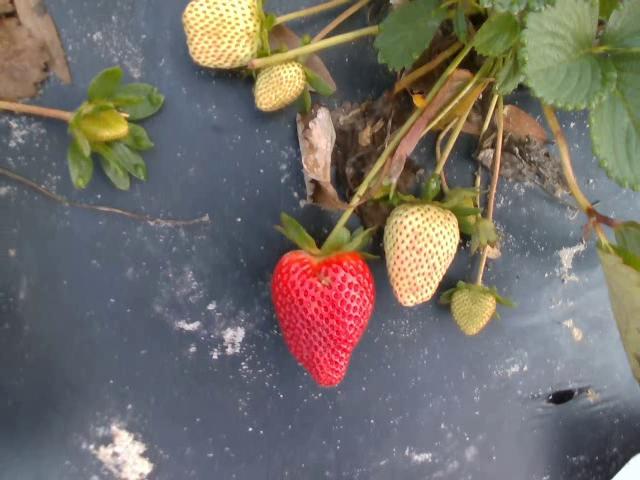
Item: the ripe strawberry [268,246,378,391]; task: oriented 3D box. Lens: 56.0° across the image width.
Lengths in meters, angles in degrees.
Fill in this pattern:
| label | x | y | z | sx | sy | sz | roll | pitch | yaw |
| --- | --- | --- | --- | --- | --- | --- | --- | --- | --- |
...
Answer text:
| label | x | y | z | sx | sy | sz | roll | pitch | yaw |
| --- | --- | --- | --- | --- | --- | --- | --- | --- | --- |
| ripe strawberry | 0.001 | 0.028 | 0.233 | 0.050 | 0.059 | 0.033 | -6 | -8 | -10 |
